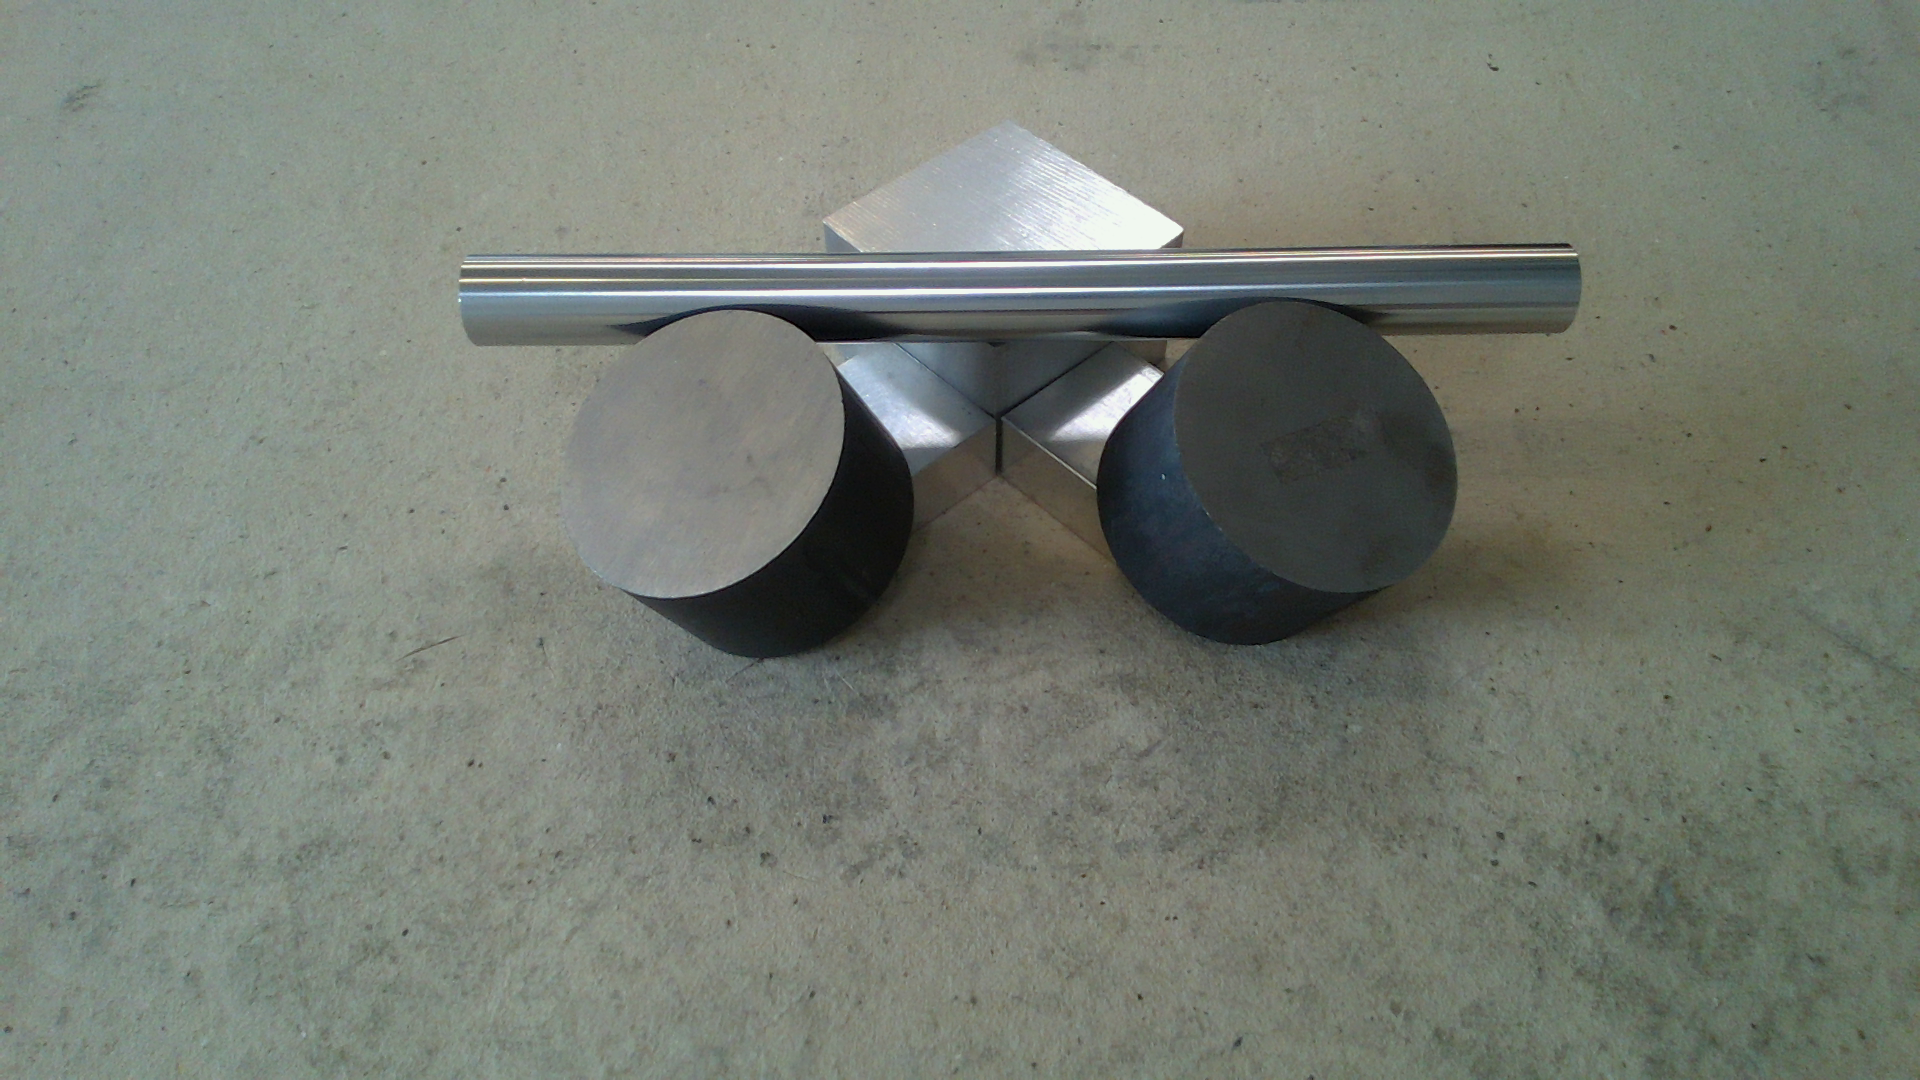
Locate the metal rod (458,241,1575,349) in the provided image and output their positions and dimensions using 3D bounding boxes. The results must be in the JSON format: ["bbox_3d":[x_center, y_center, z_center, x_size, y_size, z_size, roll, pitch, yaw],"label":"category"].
[{"bbox_3d":[0.016,-0.068,0.381,0.300,0.025,0.025,-1,50,-1],"label":"metal rod"}]

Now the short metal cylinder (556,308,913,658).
[{"bbox_3d":[-0.059,-0.014,0.368,0.080,0.050,0.080,-7,66,17],"label":"short metal cylinder"}]

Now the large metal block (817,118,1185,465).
[{"bbox_3d":[0.012,-0.082,0.442,0.080,0.050,0.080,-35,58,-26],"label":"large metal block"}]

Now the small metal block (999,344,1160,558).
[{"bbox_3d":[0.047,-0.028,0.415,0.050,0.025,0.050,-36,58,-26],"label":"small metal block"}]

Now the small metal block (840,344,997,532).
[{"bbox_3d":[-0.024,-0.029,0.416,0.050,0.025,0.050,-35,58,-27],"label":"small metal block"}]

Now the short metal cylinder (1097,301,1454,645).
[{"bbox_3d":[0.084,-0.017,0.372,0.080,0.050,0.080,7,68,-16],"label":"short metal cylinder"}]
